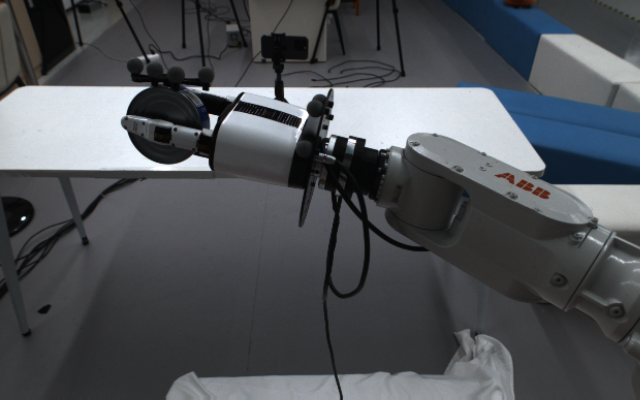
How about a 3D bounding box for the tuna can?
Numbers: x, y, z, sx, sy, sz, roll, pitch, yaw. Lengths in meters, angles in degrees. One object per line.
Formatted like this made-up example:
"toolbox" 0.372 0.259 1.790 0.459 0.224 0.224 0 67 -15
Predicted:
"tuna can" -0.168 -0.085 0.543 0.085 0.085 0.034 5 17 5
